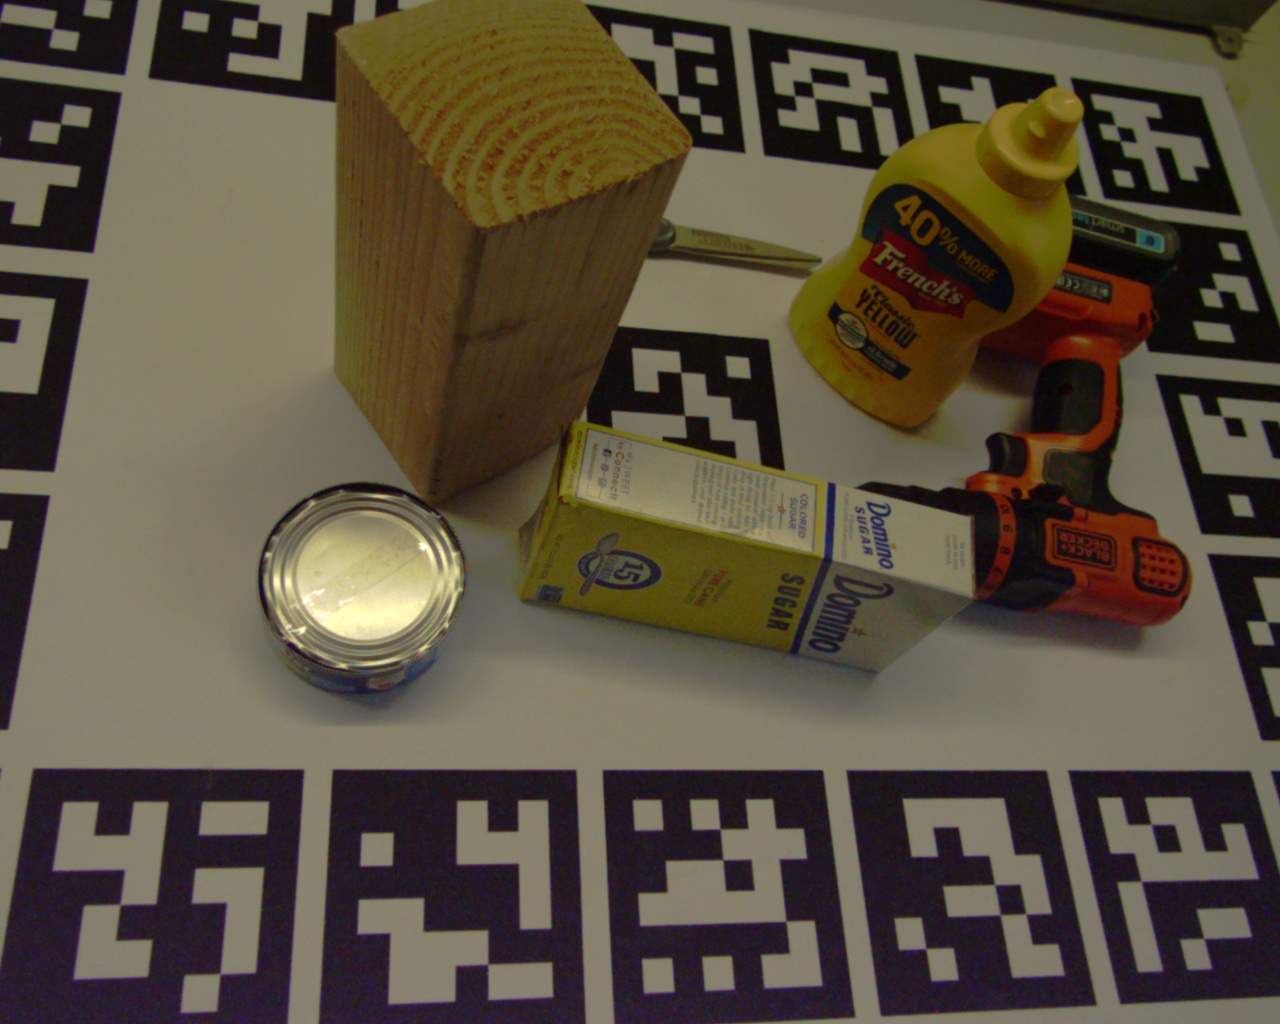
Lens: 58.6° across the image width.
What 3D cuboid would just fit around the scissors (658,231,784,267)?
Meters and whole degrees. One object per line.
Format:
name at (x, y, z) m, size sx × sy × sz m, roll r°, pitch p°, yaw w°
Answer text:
scissors at (-0.015, -0.150, 0.632) m, size 0.201 × 0.016 × 0.088 m, roll 4°, pitch 62°, yaw -12°

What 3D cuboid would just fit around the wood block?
wood block at (-0.067, -0.095, 0.500) m, size 0.090 × 0.207 × 0.090 m, roll -26°, pitch 77°, yaw -23°

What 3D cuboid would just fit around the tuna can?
tuna can at (-0.119, 0.032, 0.513) m, size 0.085 × 0.034 × 0.086 m, roll 5°, pitch 66°, yaw -13°

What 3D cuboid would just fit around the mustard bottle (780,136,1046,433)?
mustard bottle at (0.142, -0.118, 0.568) m, size 0.058 × 0.192 × 0.096 m, roll -39°, pitch 82°, yaw -25°

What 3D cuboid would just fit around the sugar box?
sugar box at (0.047, 0.022, 0.530) m, size 0.175 × 0.093 × 0.045 m, roll 14°, pitch 61°, yaw -10°

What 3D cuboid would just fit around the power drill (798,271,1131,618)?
power drill at (0.176, -0.046, 0.610) m, size 0.184 × 0.057 × 0.187 m, roll 15°, pitch 71°, yaw -7°
